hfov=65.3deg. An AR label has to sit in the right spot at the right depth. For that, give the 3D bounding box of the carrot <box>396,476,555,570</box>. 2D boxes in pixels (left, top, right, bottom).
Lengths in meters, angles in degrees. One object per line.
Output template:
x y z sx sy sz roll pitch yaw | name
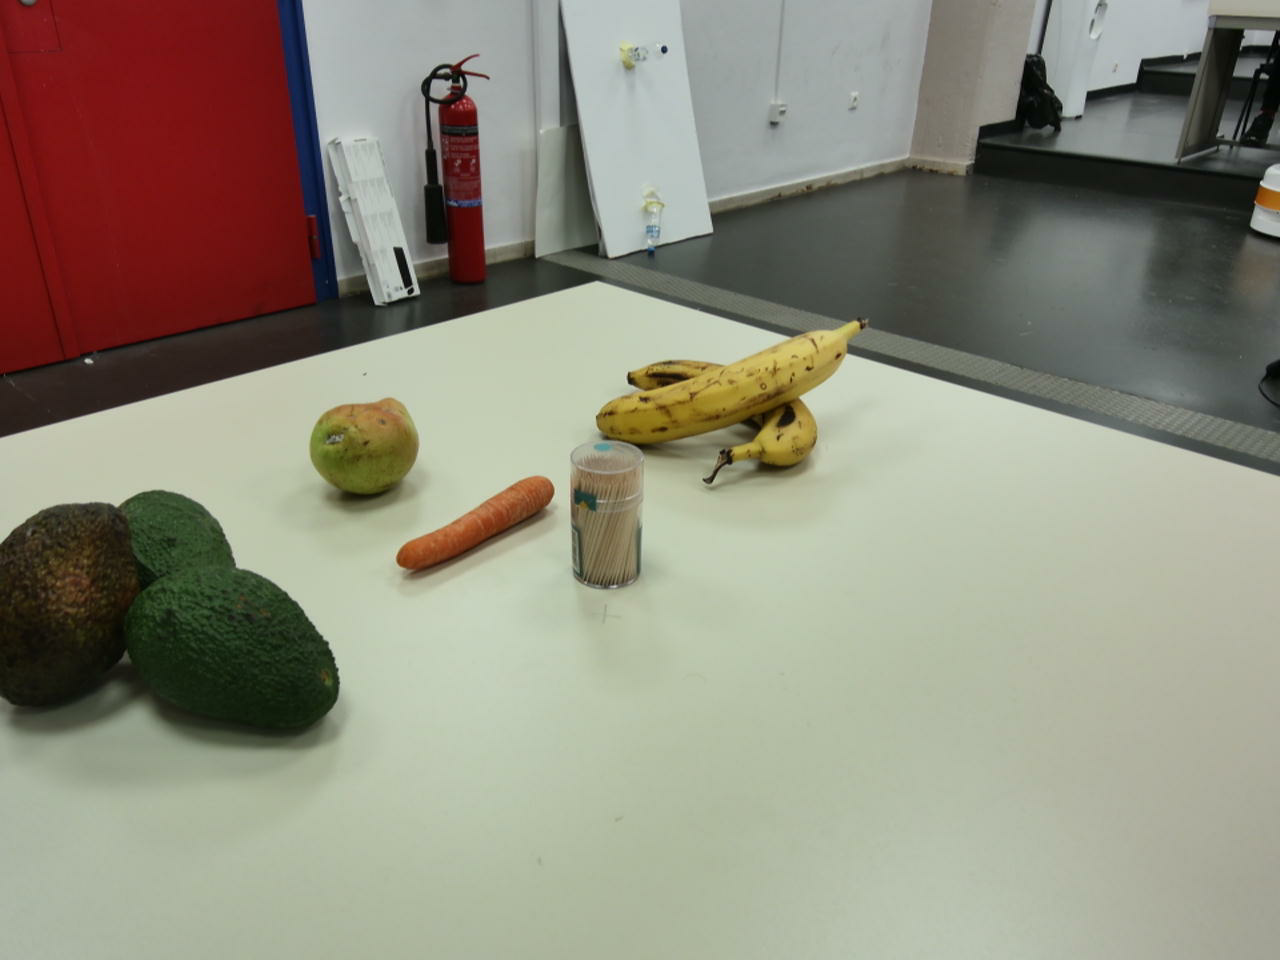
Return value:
-0.097 0.025 0.604 0.024 0.023 0.122 20 32 35 | carrot
